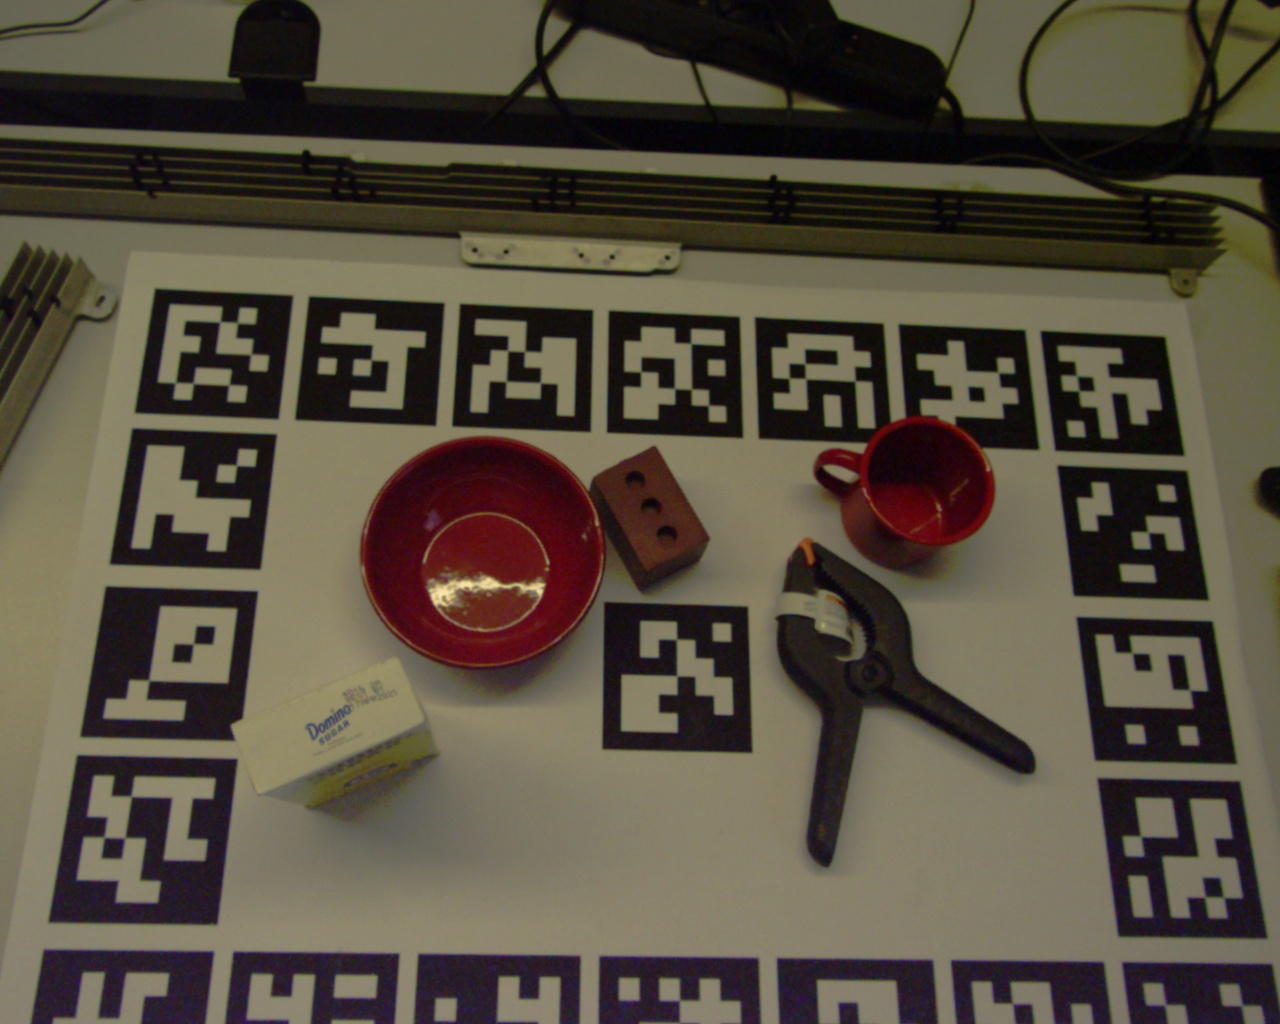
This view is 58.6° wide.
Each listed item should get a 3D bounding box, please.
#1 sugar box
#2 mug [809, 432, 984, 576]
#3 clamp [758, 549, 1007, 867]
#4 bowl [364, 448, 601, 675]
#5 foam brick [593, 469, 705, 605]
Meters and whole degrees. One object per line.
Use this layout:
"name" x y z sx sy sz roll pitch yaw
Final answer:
"sugar box" -0.177 0.146 0.698 0.092 0.177 0.045 -22 78 -13
"mug" 0.177 -0.006 0.823 0.117 0.081 0.093 27 72 0
"clamp" 0.142 0.120 0.799 0.165 0.036 0.203 -21 76 -9
"bowl" -0.110 0.039 0.801 0.161 0.055 0.162 1 72 -5
"foam brick" 0.005 0.019 0.825 0.052 0.051 0.078 -25 77 -11
